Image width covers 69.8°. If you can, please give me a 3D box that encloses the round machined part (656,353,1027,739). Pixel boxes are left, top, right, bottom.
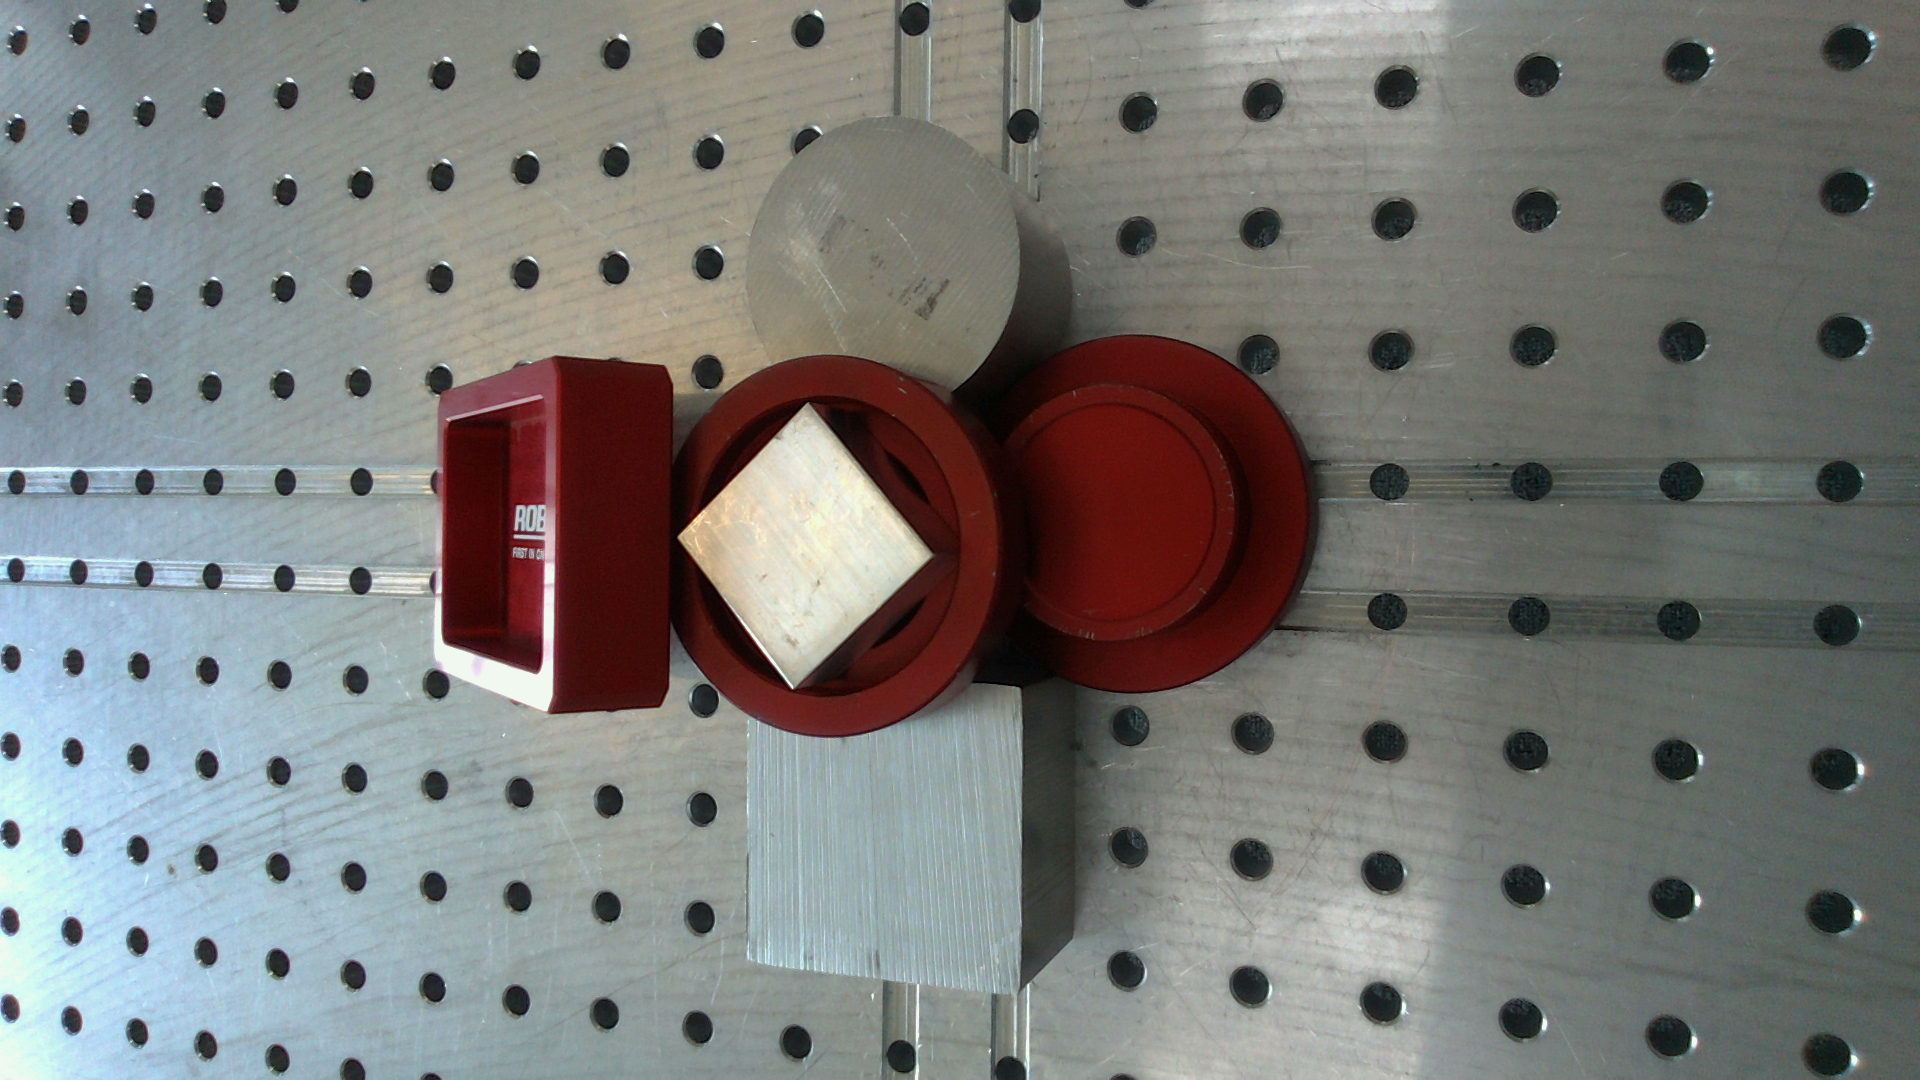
[{"bbox_3d":[-0.029,0.001,0.369,0.098,0.042,0.098,0,90,20],"label":"round machined part"}]

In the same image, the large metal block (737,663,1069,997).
[{"bbox_3d":[-0.014,0.076,0.387,0.080,0.050,0.080,1,90,20],"label":"large metal block"}]

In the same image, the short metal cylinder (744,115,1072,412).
[{"bbox_3d":[-0.014,-0.073,0.389,0.080,0.050,0.080,0,90,20],"label":"short metal cylinder"}]

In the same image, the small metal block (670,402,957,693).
[{"bbox_3d":[-0.035,0.002,0.345,0.050,0.025,0.050,-43,77,15],"label":"small metal block"}]

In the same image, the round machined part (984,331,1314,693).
[{"bbox_3d":[0.045,-0.007,0.372,0.098,0.042,0.098,0,90,20],"label":"round machined part"}]

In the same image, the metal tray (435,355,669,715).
[{"bbox_3d":[-0.123,-0.002,0.402,0.129,0.030,0.090,2,91,57],"label":"metal tray"}]
